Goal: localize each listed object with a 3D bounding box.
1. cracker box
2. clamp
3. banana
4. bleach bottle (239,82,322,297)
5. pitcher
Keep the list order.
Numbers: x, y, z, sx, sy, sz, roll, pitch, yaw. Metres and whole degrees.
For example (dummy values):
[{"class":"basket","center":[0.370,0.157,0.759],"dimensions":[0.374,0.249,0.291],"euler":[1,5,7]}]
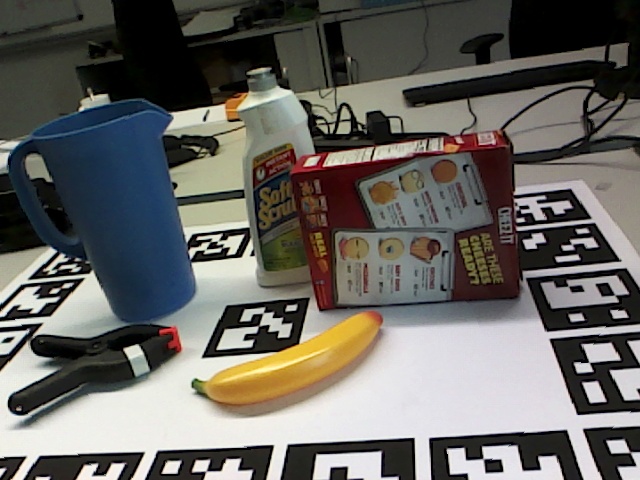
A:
[{"class":"cracker box","center":[0.098,-0.022,0.653],"dimensions":[0.214,0.164,0.072],"euler":[-8,20,13]},{"class":"clamp","center":[-0.222,0.129,0.654],"dimensions":[0.165,0.036,0.122],"euler":[-12,21,-6]},{"class":"banana","center":[-0.008,0.119,0.596],"dimensions":[0.196,0.039,0.075],"euler":[-21,24,-21]},{"class":"bleach bottle","center":[-0.051,-0.059,0.738],"dimensions":[0.103,0.250,0.068],"euler":[-8,22,10]},{"class":"pitcher","center":[-0.242,-0.036,0.728],"dimensions":[0.188,0.242,0.134],"euler":[-12,22,-9]}]
